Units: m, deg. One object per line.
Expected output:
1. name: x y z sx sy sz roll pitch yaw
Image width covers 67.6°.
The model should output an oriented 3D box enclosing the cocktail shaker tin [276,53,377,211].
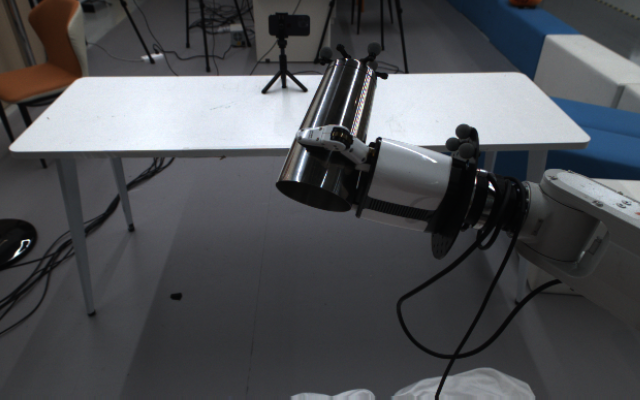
1. cocktail shaker tin: 0.016 -0.082 0.585 0.093 0.093 0.170 13 73 15
